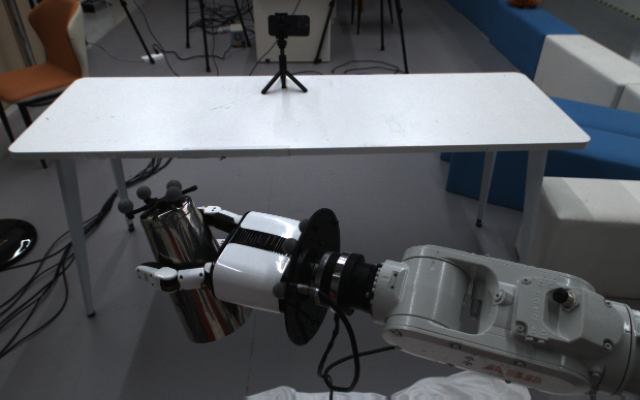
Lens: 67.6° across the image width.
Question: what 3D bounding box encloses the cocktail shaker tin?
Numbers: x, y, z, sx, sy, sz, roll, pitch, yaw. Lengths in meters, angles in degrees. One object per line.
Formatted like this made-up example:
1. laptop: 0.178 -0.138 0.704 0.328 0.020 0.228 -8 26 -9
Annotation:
1. cocktail shaker tin: -0.158 0.084 0.611 0.093 0.170 0.093 -17 20 7
